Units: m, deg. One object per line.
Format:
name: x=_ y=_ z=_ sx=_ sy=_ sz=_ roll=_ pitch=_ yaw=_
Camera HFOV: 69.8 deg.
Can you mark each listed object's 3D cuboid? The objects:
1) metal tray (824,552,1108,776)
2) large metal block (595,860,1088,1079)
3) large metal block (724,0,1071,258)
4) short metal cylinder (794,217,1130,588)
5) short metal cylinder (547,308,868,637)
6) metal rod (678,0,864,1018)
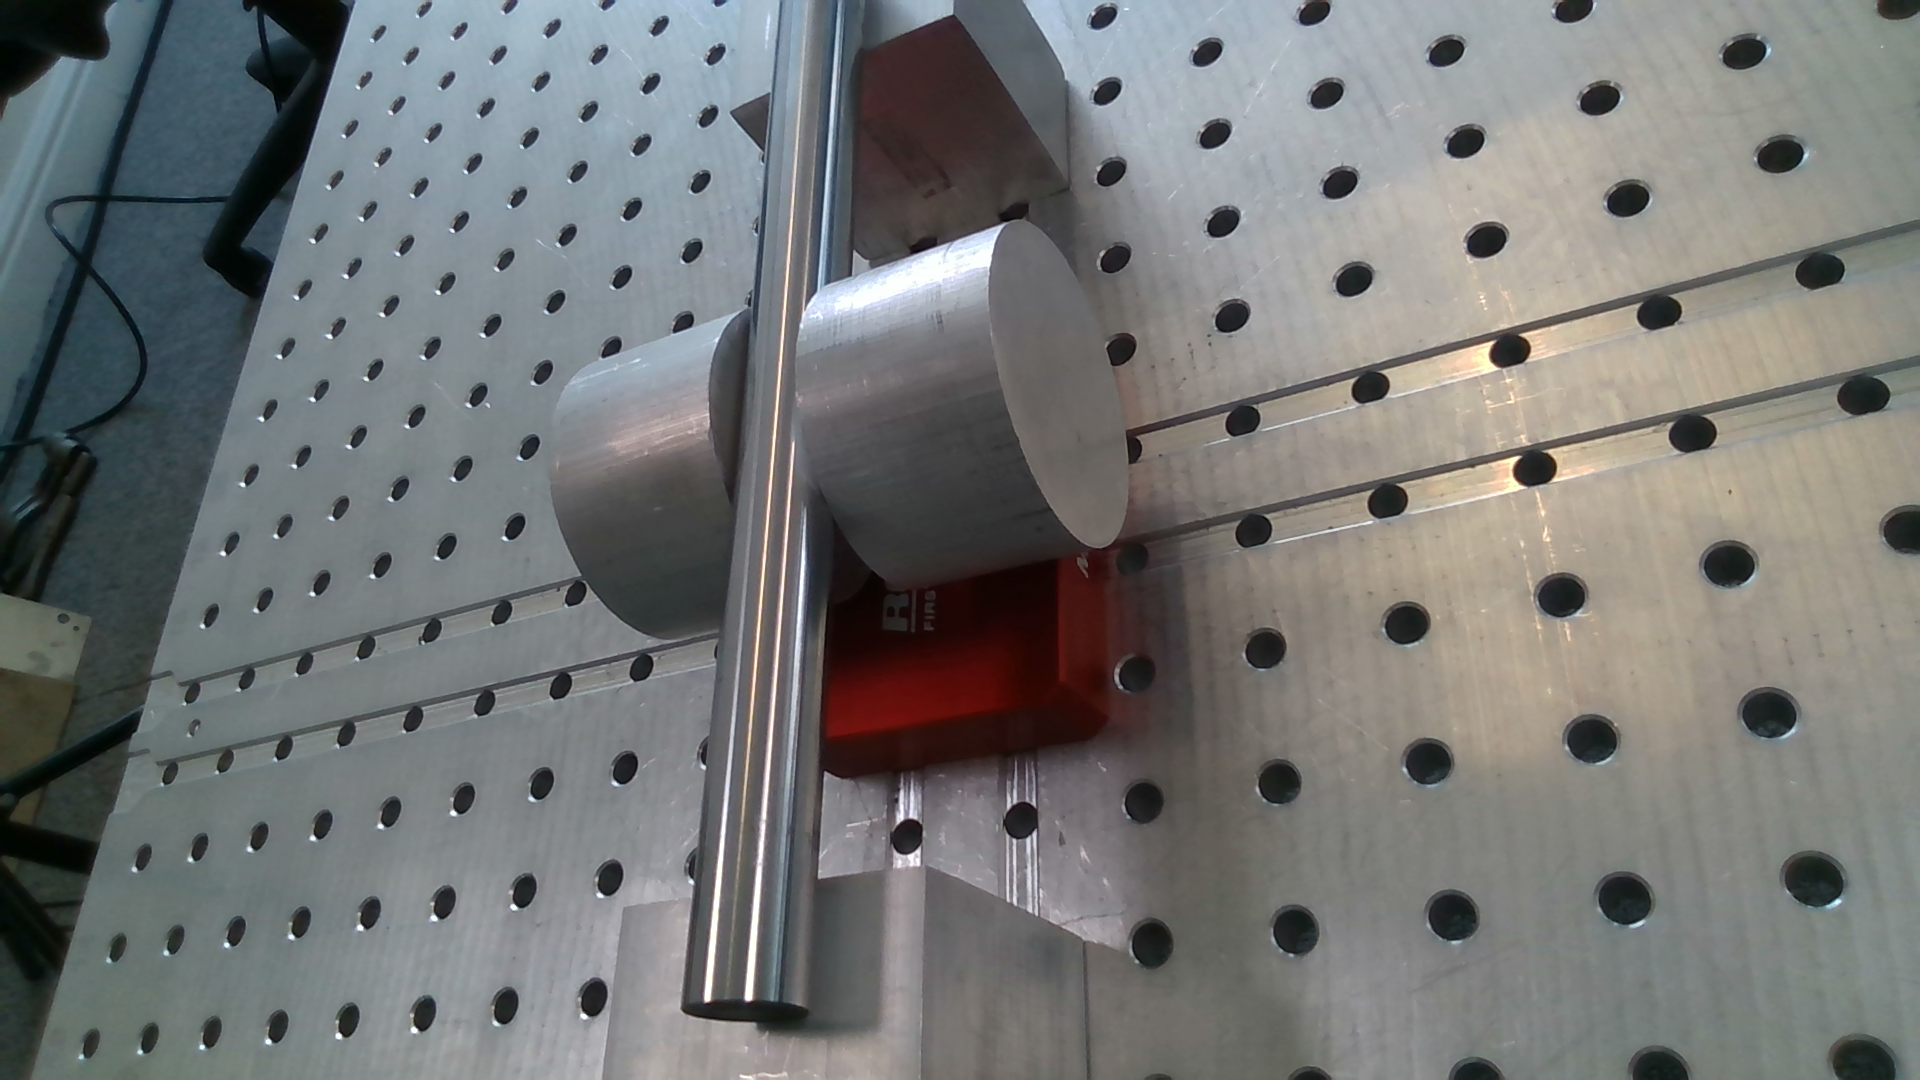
metal tray: x=-0.006 y=-0.003 z=0.398 sx=0.090 sy=0.030 sz=0.130 roll=-13 pitch=59 yaw=26
large metal block: x=-0.024 y=0.112 z=0.314 sx=0.080 sy=0.080 sz=0.050 roll=-14 pitch=59 yaw=25
large metal block: x=-0.018 y=-0.146 z=0.448 sx=0.080 sy=0.080 sz=0.050 roll=-14 pitch=59 yaw=25
short metal cylinder: x=0.003 y=-0.032 z=0.337 sx=0.050 sy=0.080 sz=0.080 roll=-14 pitch=59 yaw=25
short metal cylinder: x=-0.063 y=-0.017 z=0.370 sx=0.050 sy=0.080 sz=0.080 roll=-14 pitch=59 yaw=25
metal rod: x=-0.041 y=-0.041 z=0.339 sx=0.025 sy=0.025 sz=0.299 roll=-14 pitch=59 yaw=25
